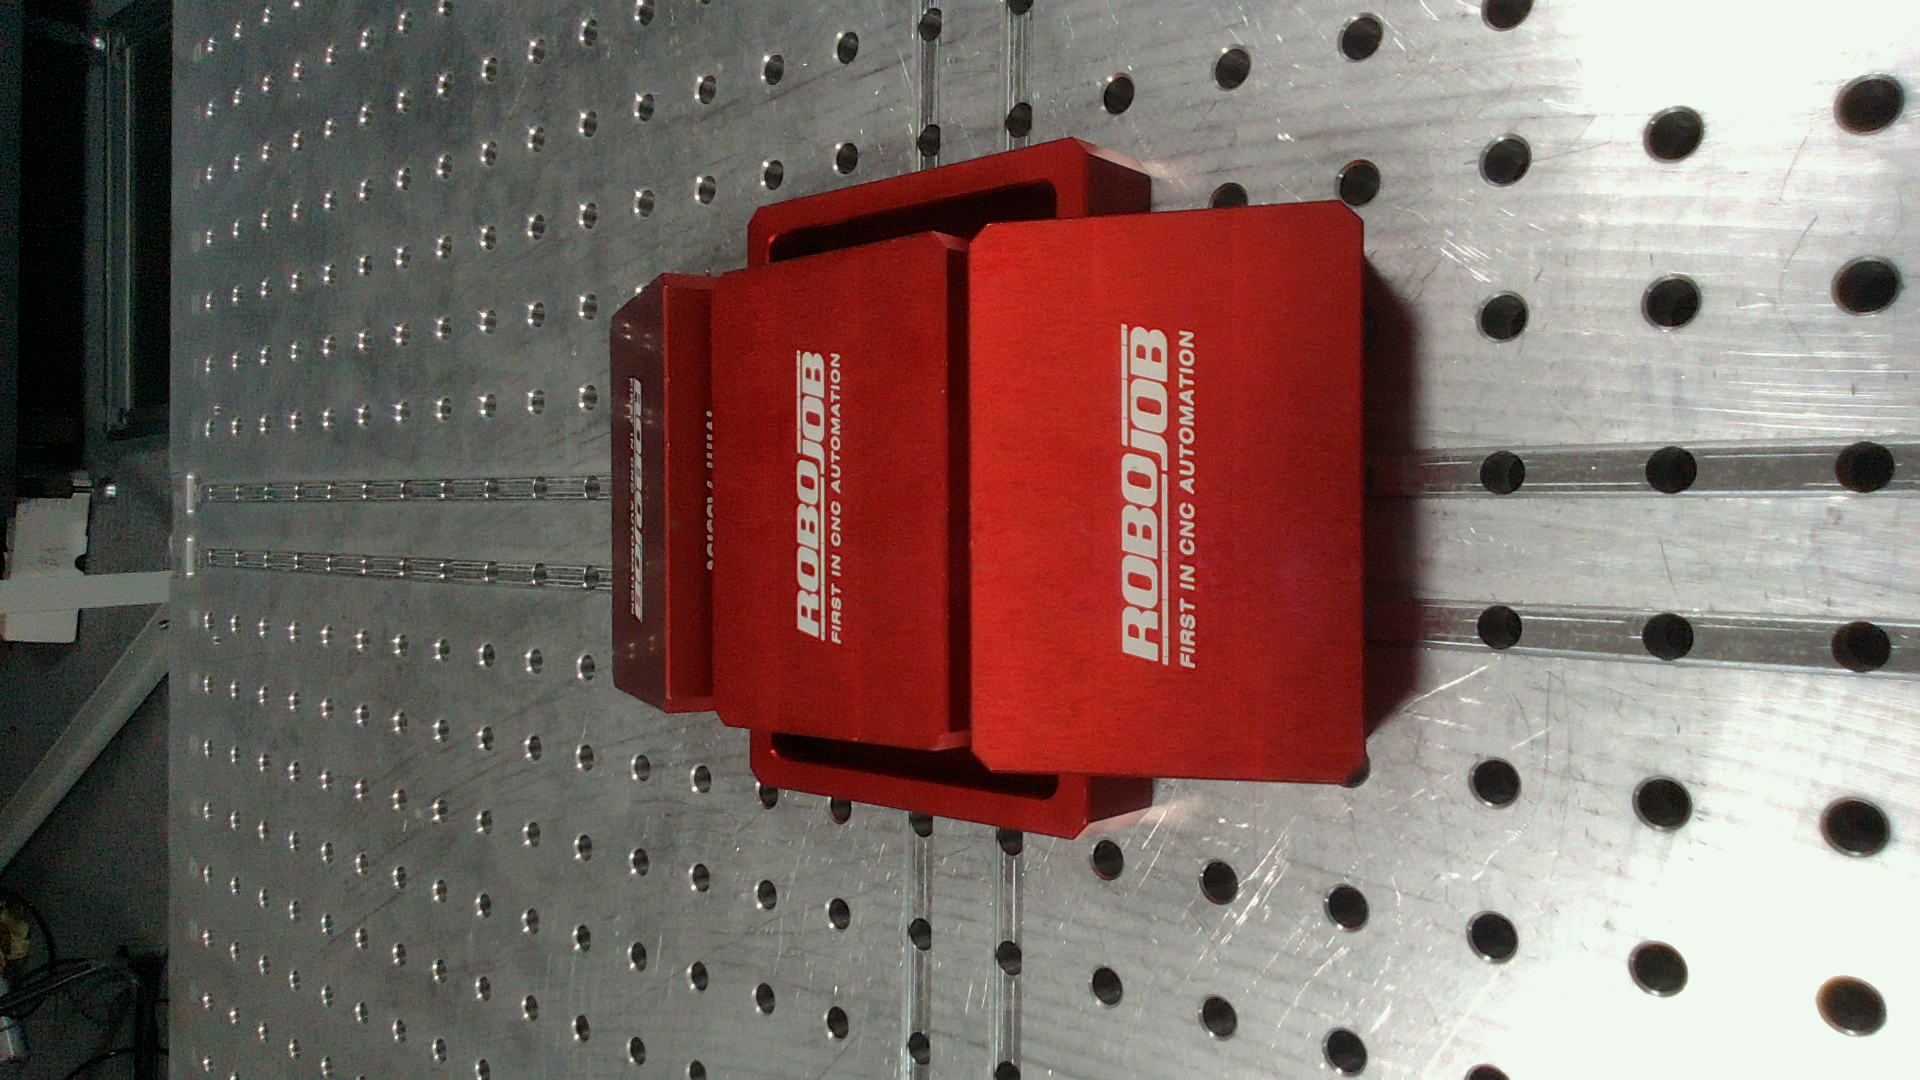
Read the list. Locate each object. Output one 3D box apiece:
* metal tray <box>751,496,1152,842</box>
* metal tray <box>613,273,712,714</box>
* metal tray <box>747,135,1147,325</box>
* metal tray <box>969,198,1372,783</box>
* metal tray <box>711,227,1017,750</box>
[{"bbox_3d":[-0.007,0.032,0.401,0.129,0.030,0.090,0,91,40],"label":"metal tray"},{"bbox_3d":[-0.091,-0.014,0.448,0.090,0.030,0.130,179,90,-66],"label":"metal tray"},{"bbox_3d":[-0.008,-0.059,0.401,0.129,0.030,0.090,0,91,40],"label":"metal tray"},{"bbox_3d":[0.050,-0.011,0.328,0.090,0.030,0.130,-1,90,13],"label":"metal tray"},{"bbox_3d":[-0.028,-0.013,0.378,0.090,0.030,0.130,-1,90,40],"label":"metal tray"}]
